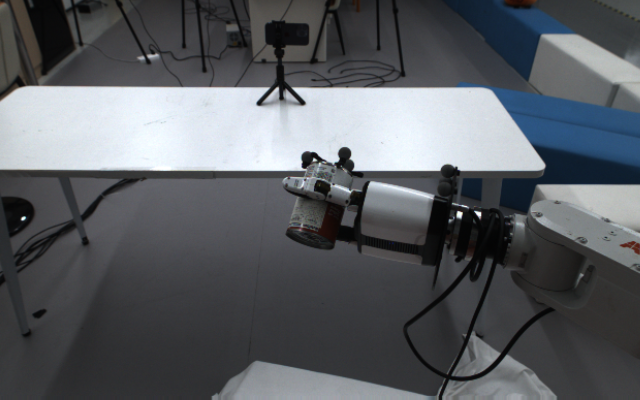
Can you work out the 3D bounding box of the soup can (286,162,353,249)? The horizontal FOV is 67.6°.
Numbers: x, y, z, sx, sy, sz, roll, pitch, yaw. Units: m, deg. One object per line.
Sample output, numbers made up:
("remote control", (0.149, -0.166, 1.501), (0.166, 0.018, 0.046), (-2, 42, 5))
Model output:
("soup can", (0.000, 0.006, 0.649), (0.067, 0.067, 0.101), (12, 71, 14))
